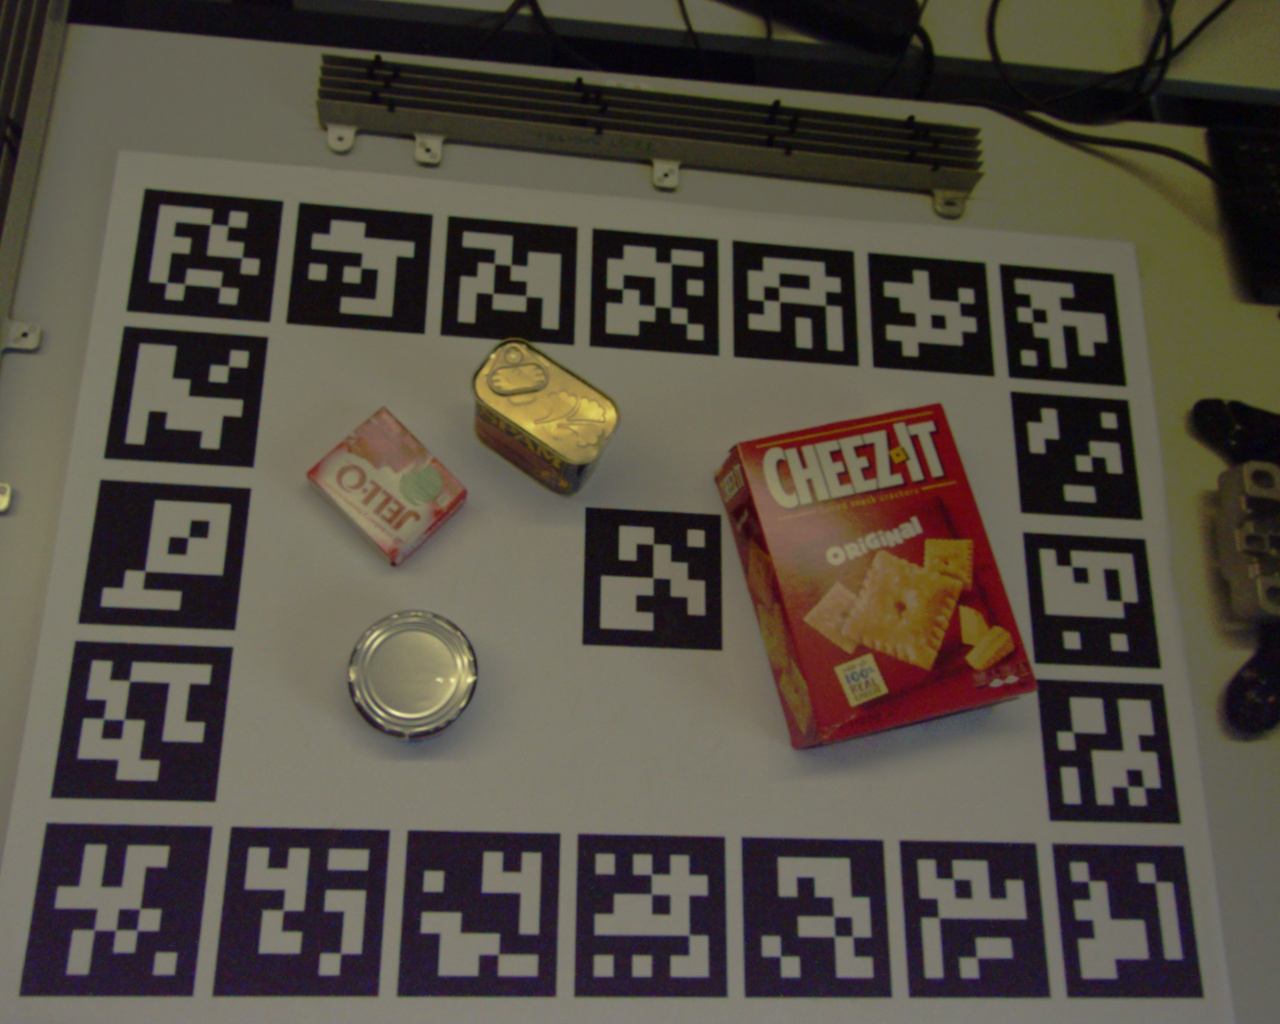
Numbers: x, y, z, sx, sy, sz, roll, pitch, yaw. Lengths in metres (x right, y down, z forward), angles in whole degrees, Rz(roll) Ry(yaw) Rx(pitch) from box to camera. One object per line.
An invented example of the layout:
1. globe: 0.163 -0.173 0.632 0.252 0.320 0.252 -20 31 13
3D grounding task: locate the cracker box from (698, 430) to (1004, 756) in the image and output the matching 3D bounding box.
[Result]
1. cracker box: 0.157 0.058 0.866 0.163 0.072 0.214 -13 73 -14

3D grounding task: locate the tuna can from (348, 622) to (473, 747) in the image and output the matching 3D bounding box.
1. tuna can: -0.161 0.123 0.806 0.085 0.034 0.086 2 76 -8

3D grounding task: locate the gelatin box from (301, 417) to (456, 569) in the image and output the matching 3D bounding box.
1. gelatin box: -0.194 -0.014 0.849 0.089 0.030 0.073 44 68 3

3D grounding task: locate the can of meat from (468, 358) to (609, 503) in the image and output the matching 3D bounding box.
1. can of meat: -0.080 -0.058 0.861 0.102 0.084 0.057 32 70 2
